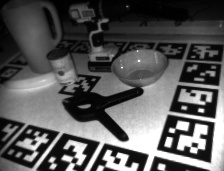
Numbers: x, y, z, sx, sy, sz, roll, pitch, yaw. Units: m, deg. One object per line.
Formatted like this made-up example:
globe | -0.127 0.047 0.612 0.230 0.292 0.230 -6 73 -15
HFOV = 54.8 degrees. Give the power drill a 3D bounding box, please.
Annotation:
power drill | -0.026 -0.174 0.656 0.183 0.188 0.057 3 43 21

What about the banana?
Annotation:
banana | -0.280 -0.033 0.720 0.197 0.039 0.074 -9 31 4

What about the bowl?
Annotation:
bowl | 0.067 -0.061 0.626 0.161 0.056 0.161 -9 41 9

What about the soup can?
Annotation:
soup can | -0.156 -0.077 0.681 0.068 0.103 0.067 -7 32 5

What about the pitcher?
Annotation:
pitcher | -0.254 -0.184 0.726 0.188 0.244 0.132 -10 36 7

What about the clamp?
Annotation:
clamp | -0.049 0.037 0.550 0.200 0.037 0.165 6 47 23
